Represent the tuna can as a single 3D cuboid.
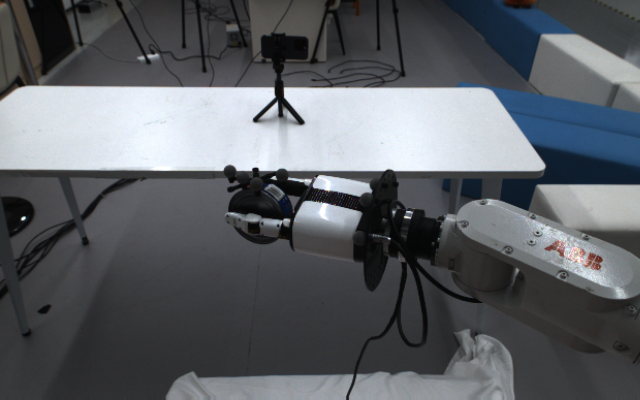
[{"bbox_3d":[-0.080,0.017,0.673,0.085,0.085,0.034,14,29,17],"label":"tuna can"}]
